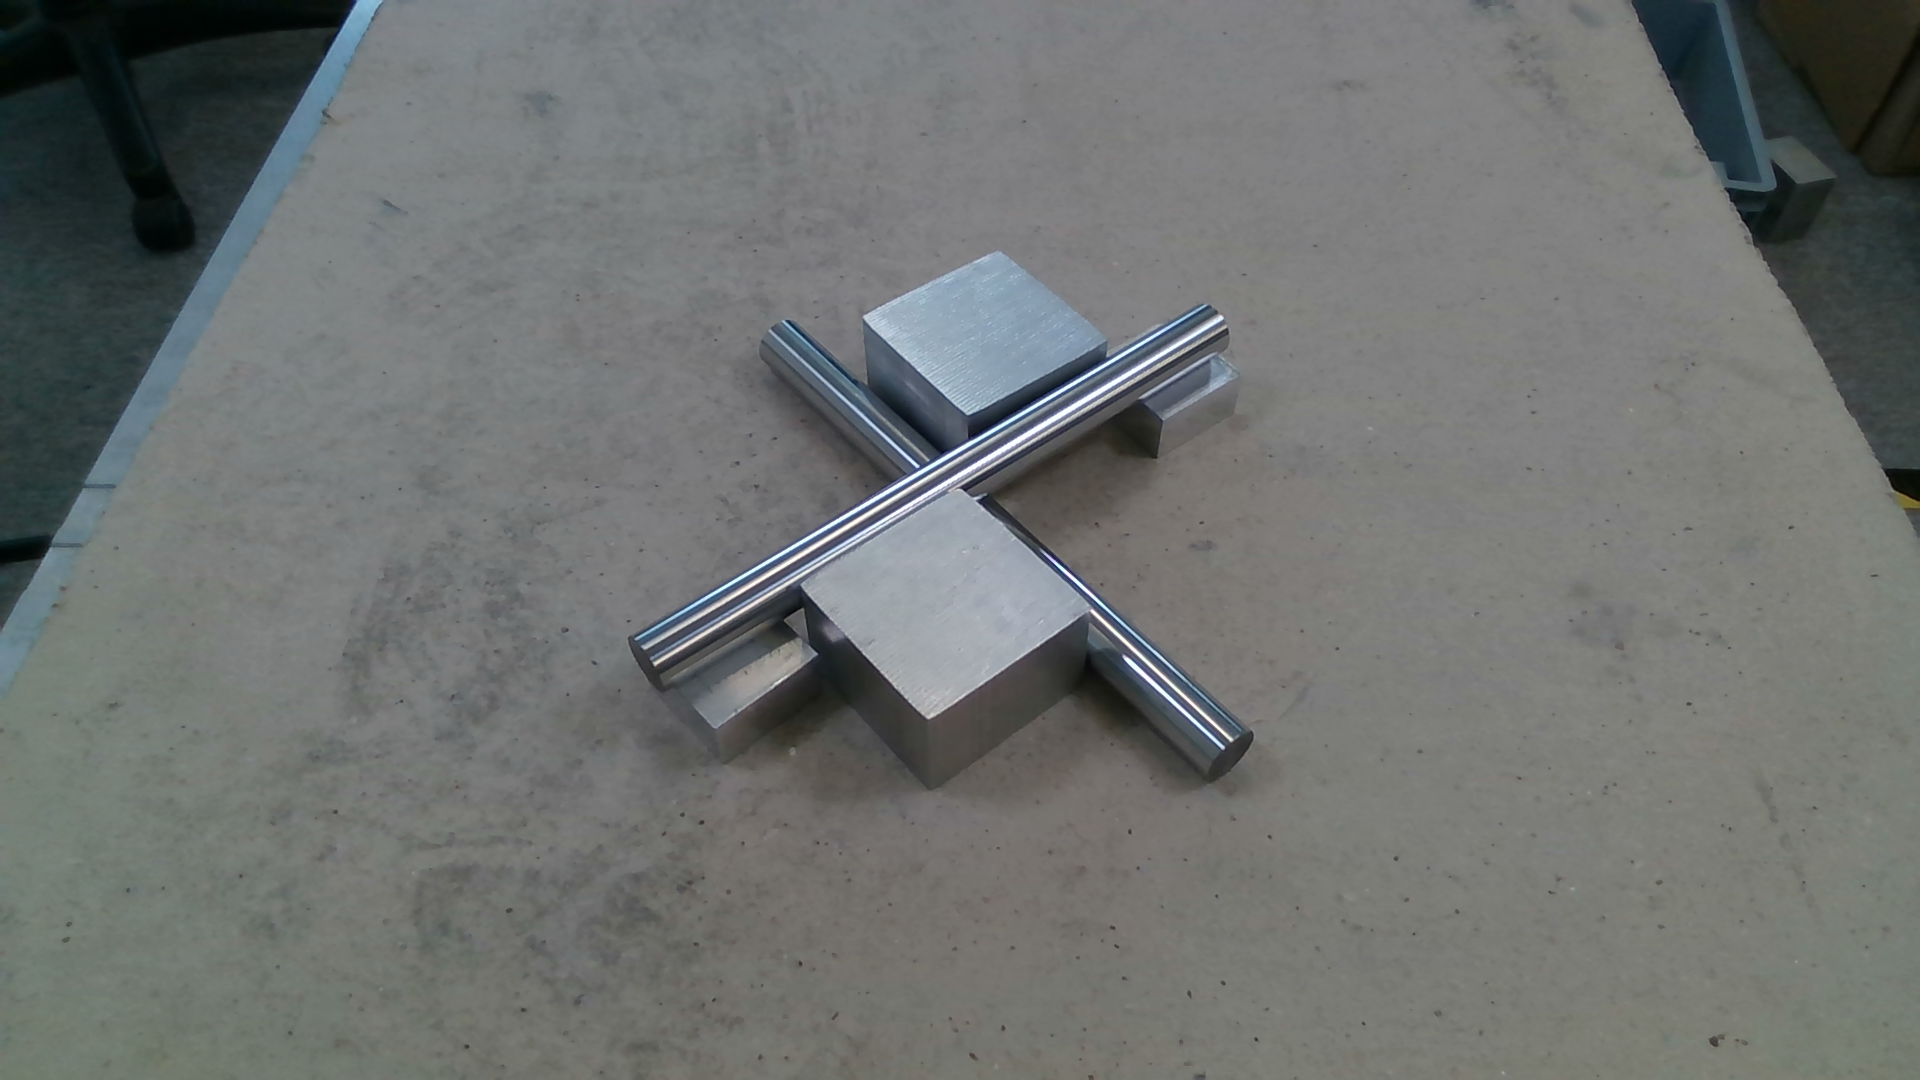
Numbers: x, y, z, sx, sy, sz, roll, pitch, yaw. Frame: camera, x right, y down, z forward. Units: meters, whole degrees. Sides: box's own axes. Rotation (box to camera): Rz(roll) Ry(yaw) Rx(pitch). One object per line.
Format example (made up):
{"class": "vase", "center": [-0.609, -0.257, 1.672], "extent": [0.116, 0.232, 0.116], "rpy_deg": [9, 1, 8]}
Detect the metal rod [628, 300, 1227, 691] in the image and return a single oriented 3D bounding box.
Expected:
{"class": "metal rod", "center": [-0.002, -0.027, 0.576], "extent": [0.300, 0.025, 0.025], "rpy_deg": [-32, 57, -24]}

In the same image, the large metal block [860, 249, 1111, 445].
{"class": "large metal block", "center": [0.011, -0.079, 0.635], "extent": [0.080, 0.050, 0.080], "rpy_deg": [-30, 56, -23]}

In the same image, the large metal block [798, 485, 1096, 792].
{"class": "large metal block", "center": [-0.005, 0.037, 0.540], "extent": [0.080, 0.050, 0.080], "rpy_deg": [-32, 57, -24]}

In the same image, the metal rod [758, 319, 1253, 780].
{"class": "metal rod", "center": [0.007, -0.008, 0.595], "extent": [0.025, 0.025, 0.299], "rpy_deg": [-32, 57, -24]}

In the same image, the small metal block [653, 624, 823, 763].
{"class": "small metal block", "center": [-0.090, 0.051, 0.546], "extent": [0.050, 0.025, 0.050], "rpy_deg": [-36, 59, -26]}

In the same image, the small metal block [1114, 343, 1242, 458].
{"class": "small metal block", "center": [0.096, -0.073, 0.649], "extent": [0.050, 0.025, 0.050], "rpy_deg": [-30, 56, -23]}
